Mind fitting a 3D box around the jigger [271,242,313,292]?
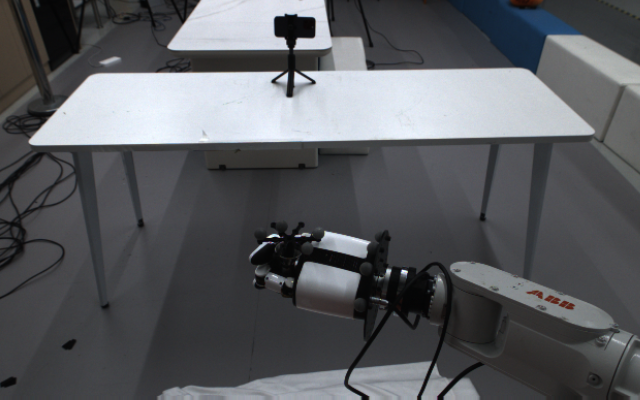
[{"bbox_3d":[-0.043,0.097,0.707,0.043,0.071,0.043,4,31,-2],"label":"jigger"}]
